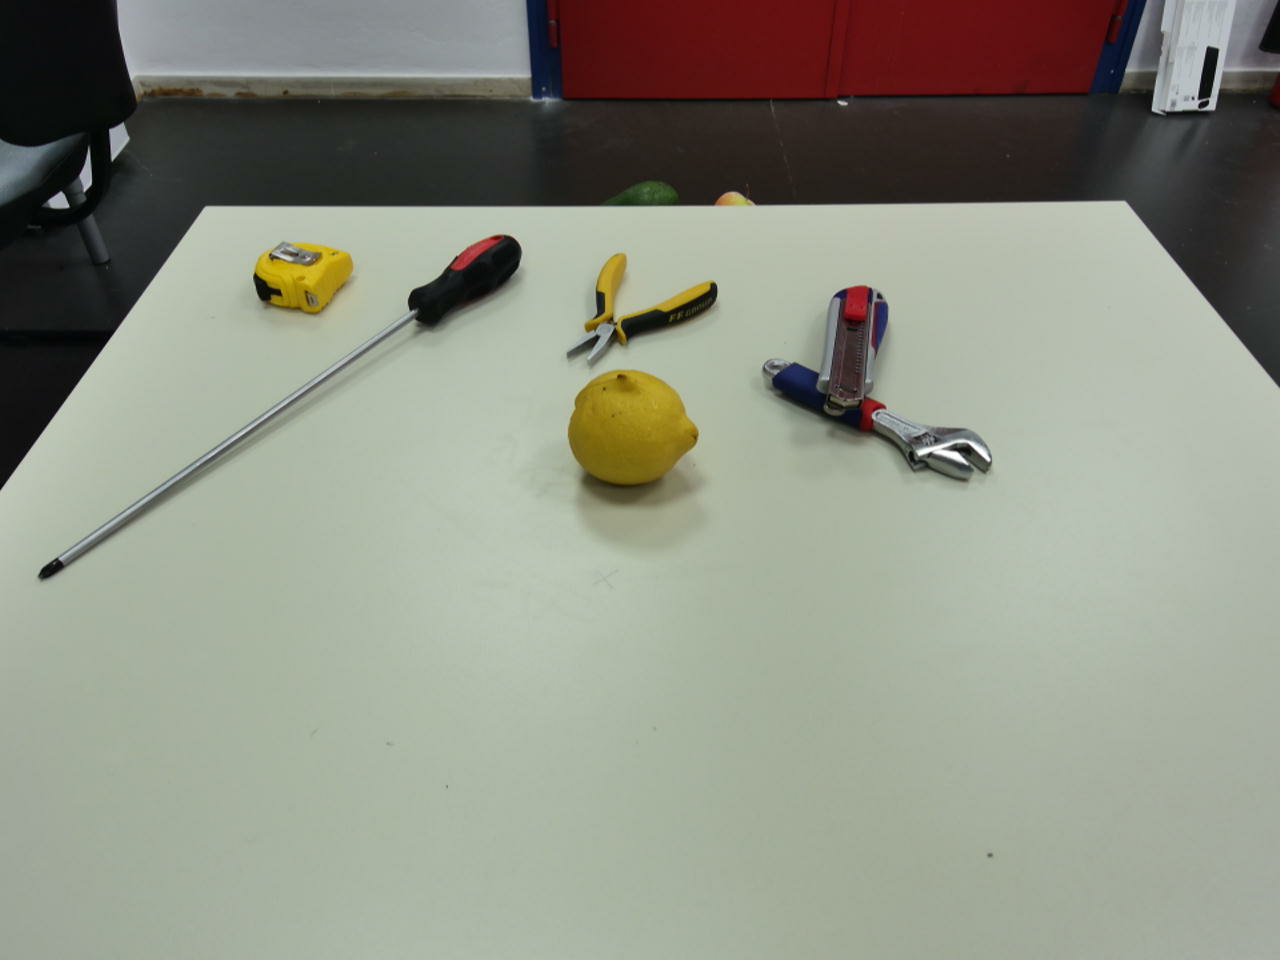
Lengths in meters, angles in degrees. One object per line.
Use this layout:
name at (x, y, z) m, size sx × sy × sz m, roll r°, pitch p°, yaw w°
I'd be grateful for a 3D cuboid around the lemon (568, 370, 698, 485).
lemon at (-0.007, -0.034, 0.592) m, size 0.070 × 0.071 × 0.071 m, roll -22°, pitch 45°, yaw -26°
